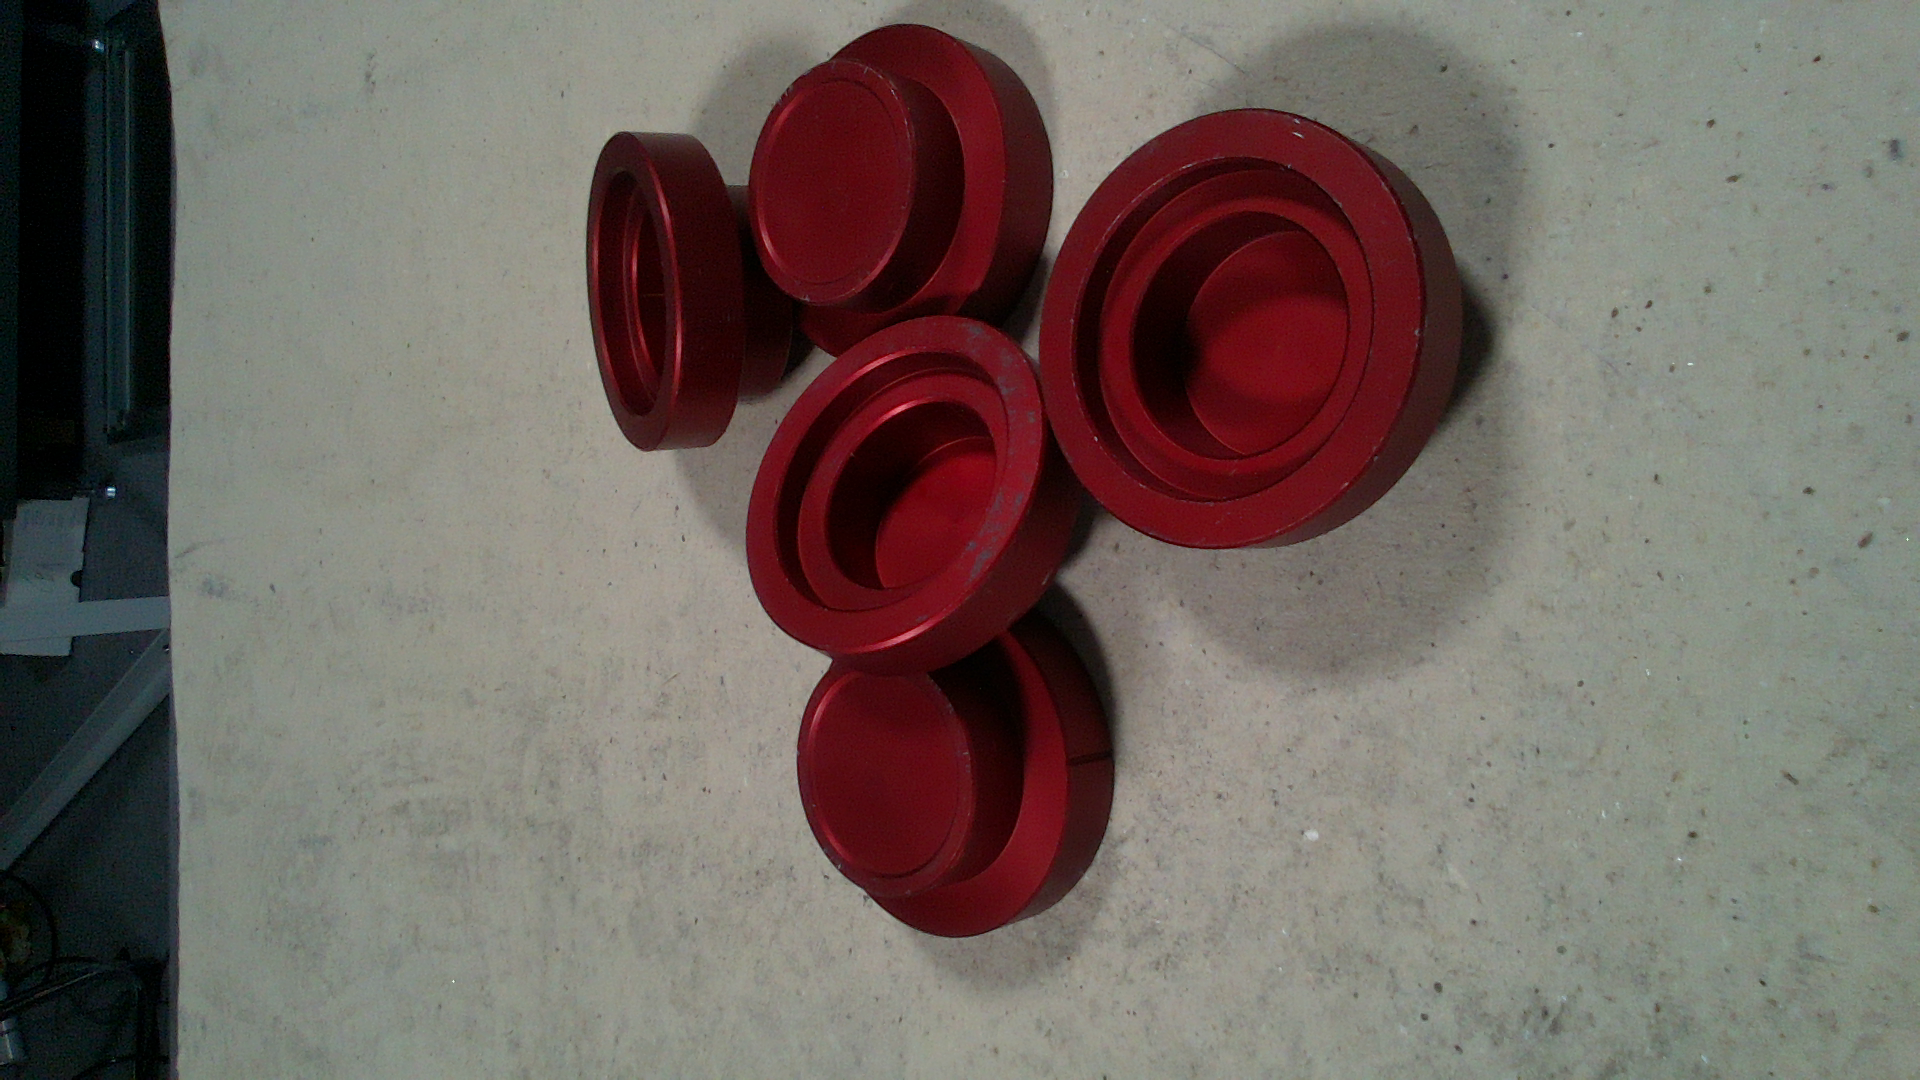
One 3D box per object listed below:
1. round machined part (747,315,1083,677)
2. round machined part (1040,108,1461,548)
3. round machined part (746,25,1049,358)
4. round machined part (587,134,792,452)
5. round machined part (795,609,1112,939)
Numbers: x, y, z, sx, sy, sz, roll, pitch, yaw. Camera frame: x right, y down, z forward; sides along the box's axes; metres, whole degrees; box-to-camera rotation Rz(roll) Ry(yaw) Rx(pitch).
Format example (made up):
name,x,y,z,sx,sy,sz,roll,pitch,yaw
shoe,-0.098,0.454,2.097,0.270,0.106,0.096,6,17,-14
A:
name,x,y,z,sx,sy,sz,roll,pitch,yaw
round machined part,-0.008,-0.009,0.377,0.098,0.042,0.098,-18,57,30
round machined part,0.070,-0.047,0.325,0.098,0.042,0.098,0,90,40
round machined part,-0.025,-0.101,0.404,0.098,0.042,0.098,0,90,40
round machined part,-0.086,-0.079,0.442,0.098,0.042,0.098,23,117,58
round machined part,-0.009,0.064,0.391,0.098,0.042,0.098,0,90,40
